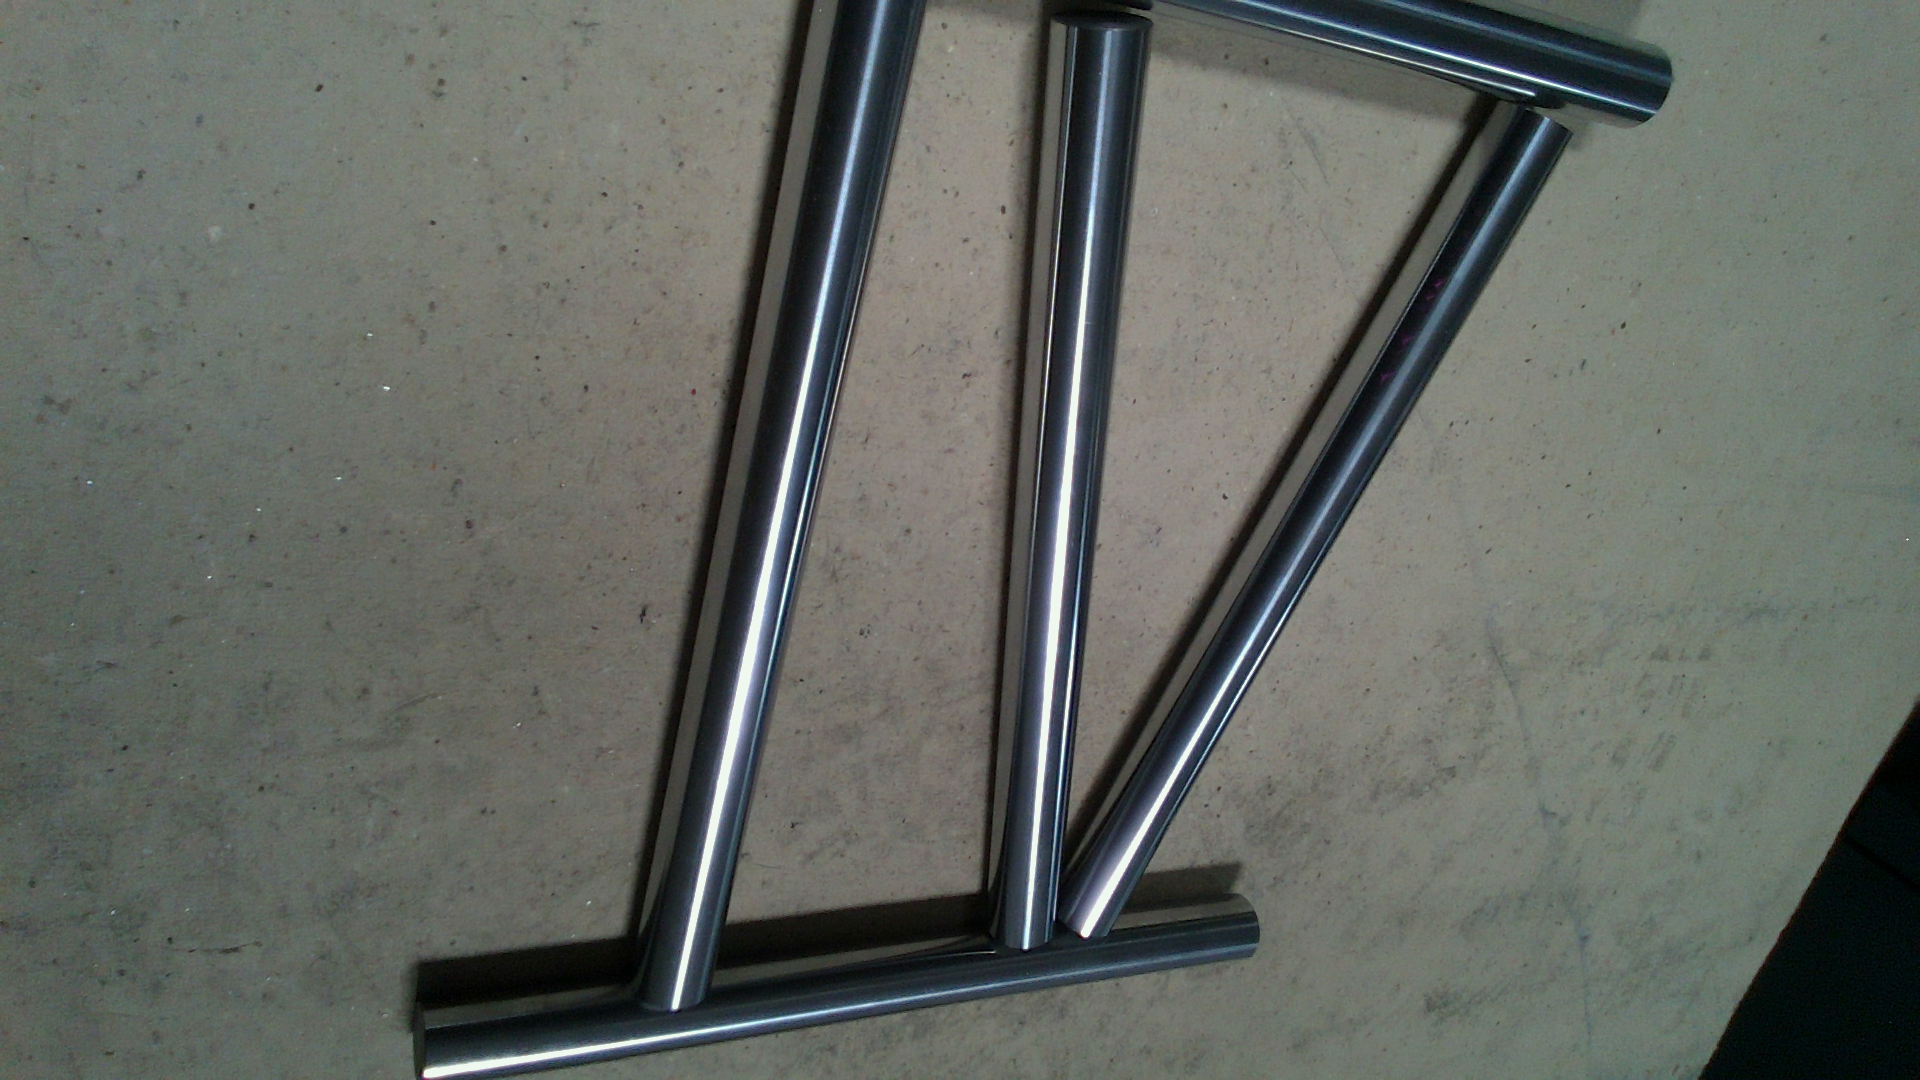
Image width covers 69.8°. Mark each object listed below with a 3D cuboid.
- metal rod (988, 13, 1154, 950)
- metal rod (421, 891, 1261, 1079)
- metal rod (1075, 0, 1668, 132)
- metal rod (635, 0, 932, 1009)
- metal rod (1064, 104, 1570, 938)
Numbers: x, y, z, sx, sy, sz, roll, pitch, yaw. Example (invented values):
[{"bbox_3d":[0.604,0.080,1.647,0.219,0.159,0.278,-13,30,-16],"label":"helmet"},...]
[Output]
[{"bbox_3d":[0.028,0.005,0.406,0.025,0.025,0.300,-11,123,-22],"label":"metal rod"},{"bbox_3d":[-0.022,0.148,0.467,0.301,0.025,0.025,1,118,-29],"label":"metal rod"},{"bbox_3d":[0.071,-0.138,0.343,0.301,0.025,0.025,1,118,-29],"label":"metal rod"},{"bbox_3d":[-0.052,0.003,0.362,0.025,0.025,0.300,1,118,-29],"label":"metal rod"},{"bbox_3d":[0.105,0.005,0.448,0.025,0.025,0.300,14,111,-34],"label":"metal rod"}]
